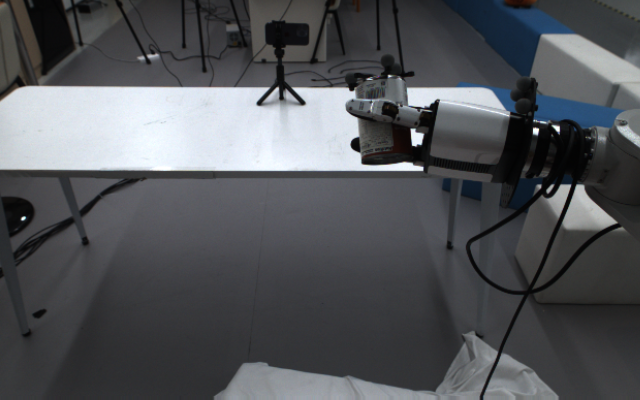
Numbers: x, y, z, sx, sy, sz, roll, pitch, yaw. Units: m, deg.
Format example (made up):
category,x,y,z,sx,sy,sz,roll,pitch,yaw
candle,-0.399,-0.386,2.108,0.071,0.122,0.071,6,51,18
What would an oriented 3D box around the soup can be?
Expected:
category,x,y,z,sx,sy,sz,roll,pitch,yaw
soup can,0.083,-0.101,0.624,0.067,0.101,0.067,-5,-5,0
